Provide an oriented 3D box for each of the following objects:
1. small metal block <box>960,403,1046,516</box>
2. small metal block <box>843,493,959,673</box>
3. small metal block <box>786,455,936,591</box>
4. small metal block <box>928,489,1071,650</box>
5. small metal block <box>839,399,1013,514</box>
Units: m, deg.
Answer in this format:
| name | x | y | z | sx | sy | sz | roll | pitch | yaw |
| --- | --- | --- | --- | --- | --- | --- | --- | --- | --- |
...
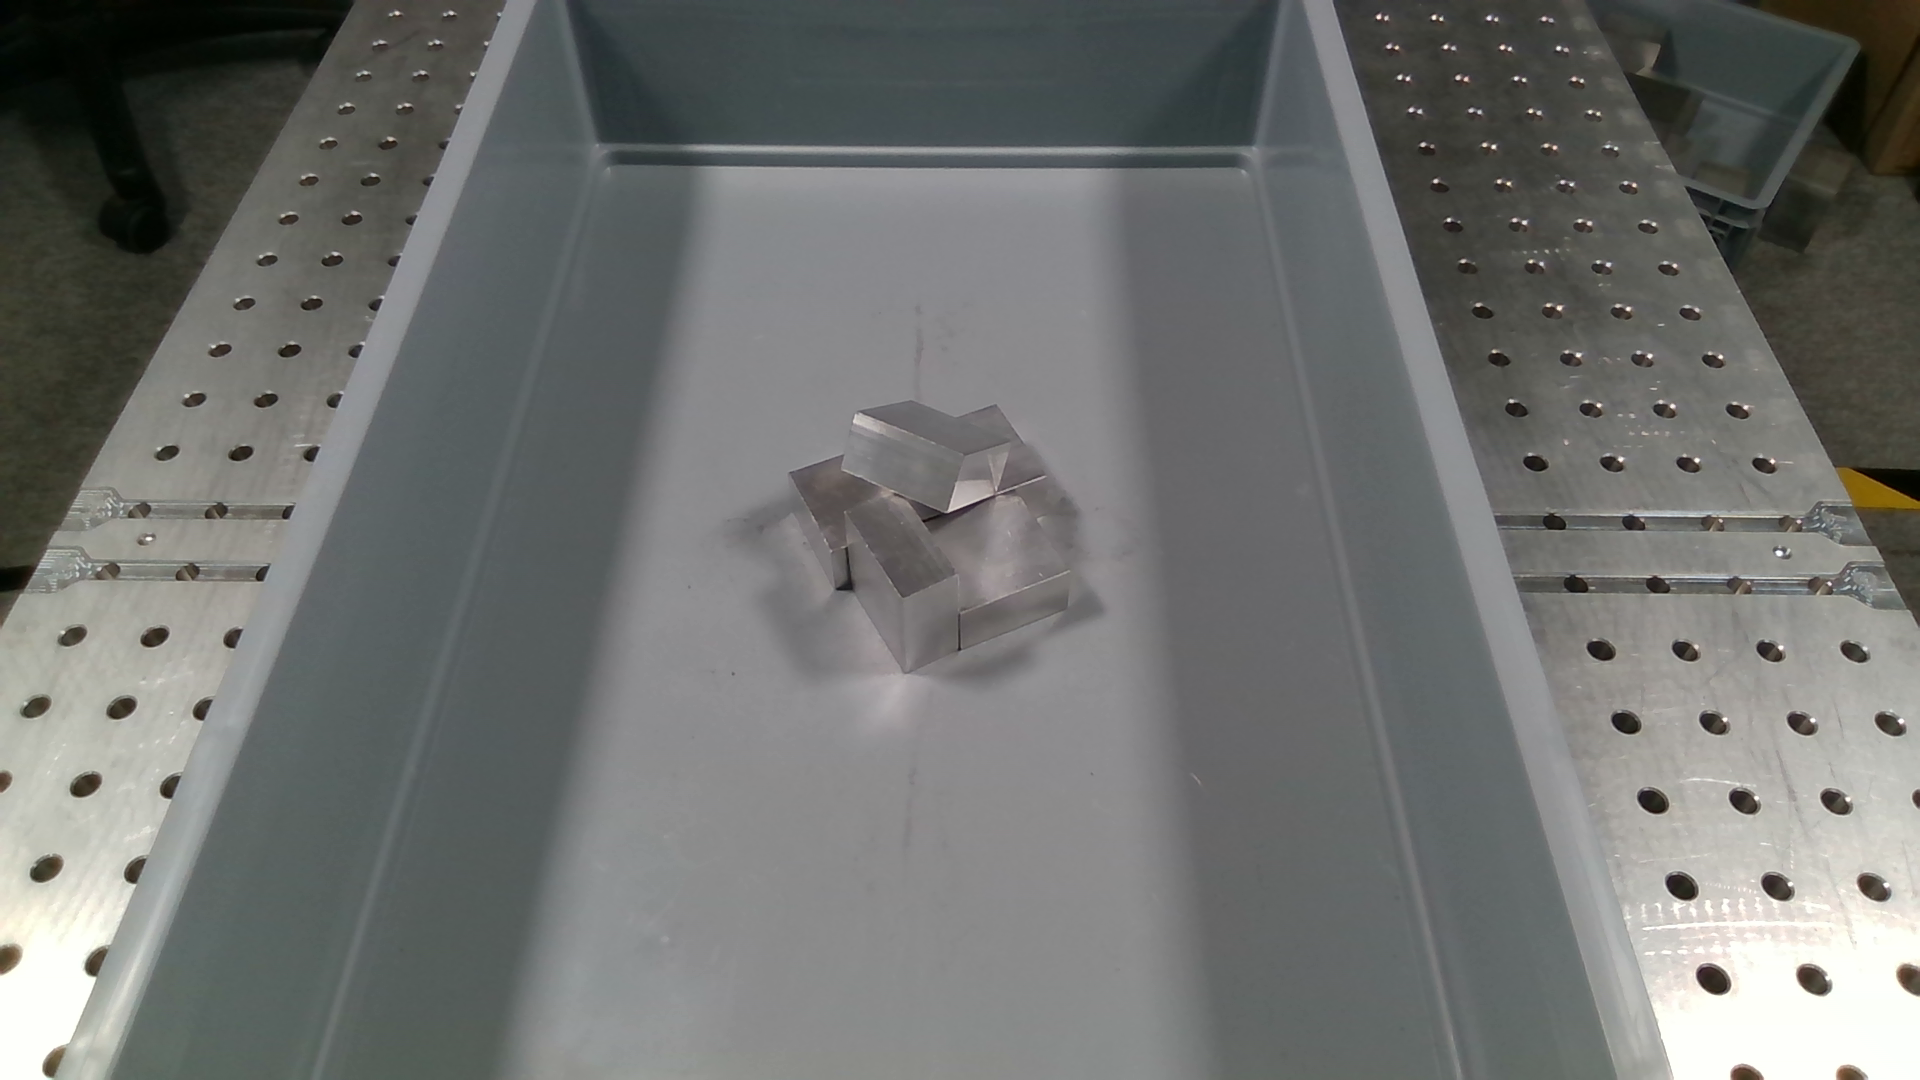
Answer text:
| name | x | y | z | sx | sy | sz | roll | pitch | yaw |
| --- | --- | --- | --- | --- | --- | --- | --- | --- | --- |
| small metal block | 0.004 | -0.028 | 0.609 | 0.050 | 0.025 | 0.050 | -20 | 53 | -16 |
| small metal block | -0.024 | 0.016 | 0.555 | 0.025 | 0.050 | 0.050 | -23 | 54 | -18 |
| small metal block | -0.042 | -0.012 | 0.596 | 0.050 | 0.025 | 0.050 | -20 | 53 | -16 |
| small metal block | 0.012 | 0.012 | 0.576 | 0.050 | 0.025 | 0.050 | -20 | 53 | -16 |
| small metal block | -0.013 | -0.036 | 0.567 | 0.050 | 0.025 | 0.050 | 24 | 19 | 19 |
